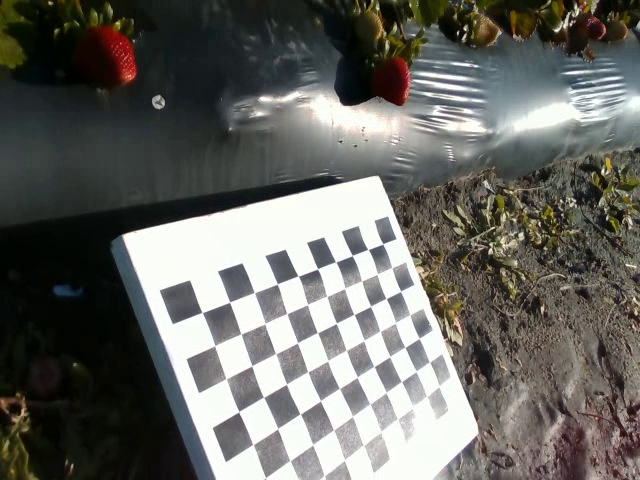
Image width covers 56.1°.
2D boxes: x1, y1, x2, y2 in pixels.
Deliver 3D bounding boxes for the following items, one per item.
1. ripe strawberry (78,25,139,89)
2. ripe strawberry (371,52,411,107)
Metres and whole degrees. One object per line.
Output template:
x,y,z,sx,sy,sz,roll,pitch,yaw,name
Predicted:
-0.138,-0.118,0.399,0.045,0.042,0.055,-5,45,-49,ripe strawberry
0.069,-0.147,0.564,0.042,0.059,0.042,14,-38,-44,ripe strawberry
